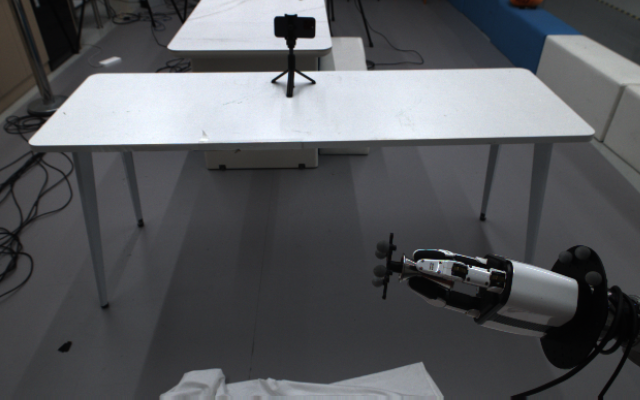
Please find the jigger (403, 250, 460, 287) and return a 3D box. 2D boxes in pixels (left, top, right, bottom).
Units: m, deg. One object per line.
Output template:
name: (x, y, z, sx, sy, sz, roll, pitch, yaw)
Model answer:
jigger: (0.148, 0.090, 0.646, 0.071, 0.043, 0.043, 6, 35, 5)
